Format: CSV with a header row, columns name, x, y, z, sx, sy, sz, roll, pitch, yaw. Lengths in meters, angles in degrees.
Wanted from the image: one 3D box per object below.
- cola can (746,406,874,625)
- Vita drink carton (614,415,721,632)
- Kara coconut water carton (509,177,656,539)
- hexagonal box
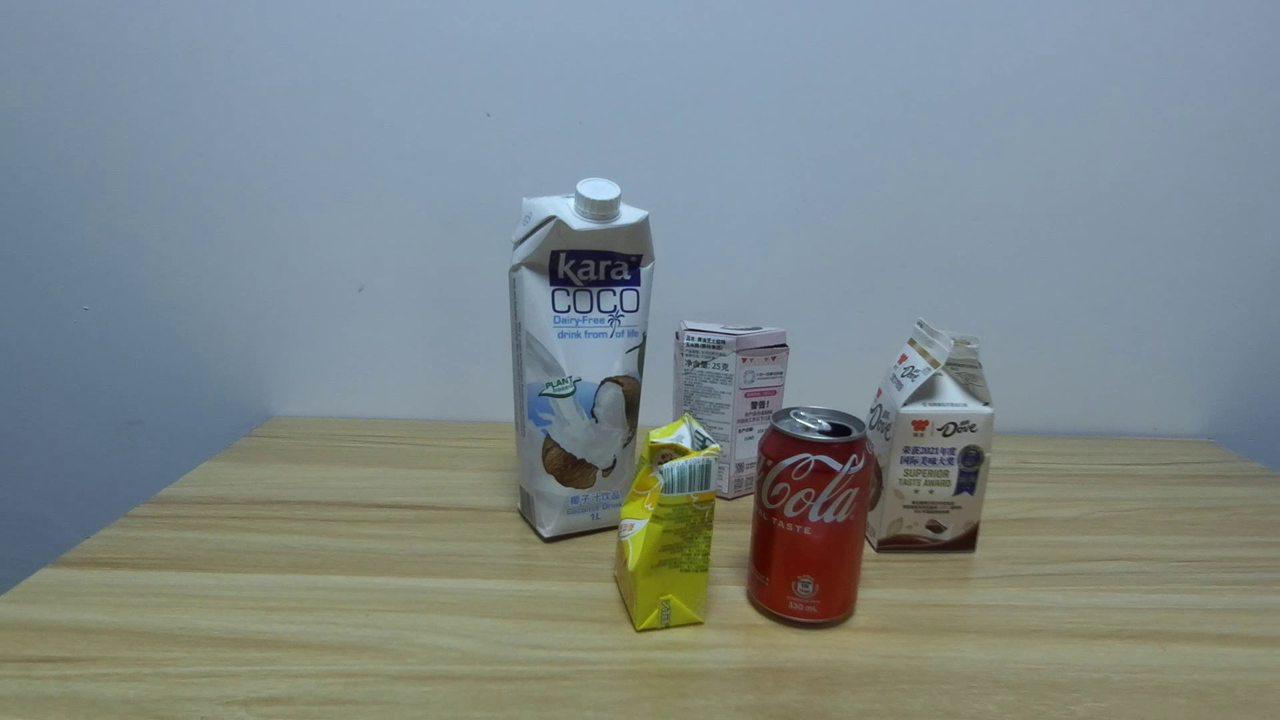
name,x,y,z,sx,sy,sz,roll,pitch,yaw
cola can,0.101,0.090,0.417,0.068,0.120,0.068,2,16,0
Vita drink carton,0.013,0.092,0.416,0.046,0.109,0.071,0,14,-13
Kara coconut water carton,-0.040,-0.002,0.499,0.100,0.244,0.071,-6,17,-25
hexagonal box,0.070,0.036,0.580,0.092,0.135,0.084,-6,15,-30
